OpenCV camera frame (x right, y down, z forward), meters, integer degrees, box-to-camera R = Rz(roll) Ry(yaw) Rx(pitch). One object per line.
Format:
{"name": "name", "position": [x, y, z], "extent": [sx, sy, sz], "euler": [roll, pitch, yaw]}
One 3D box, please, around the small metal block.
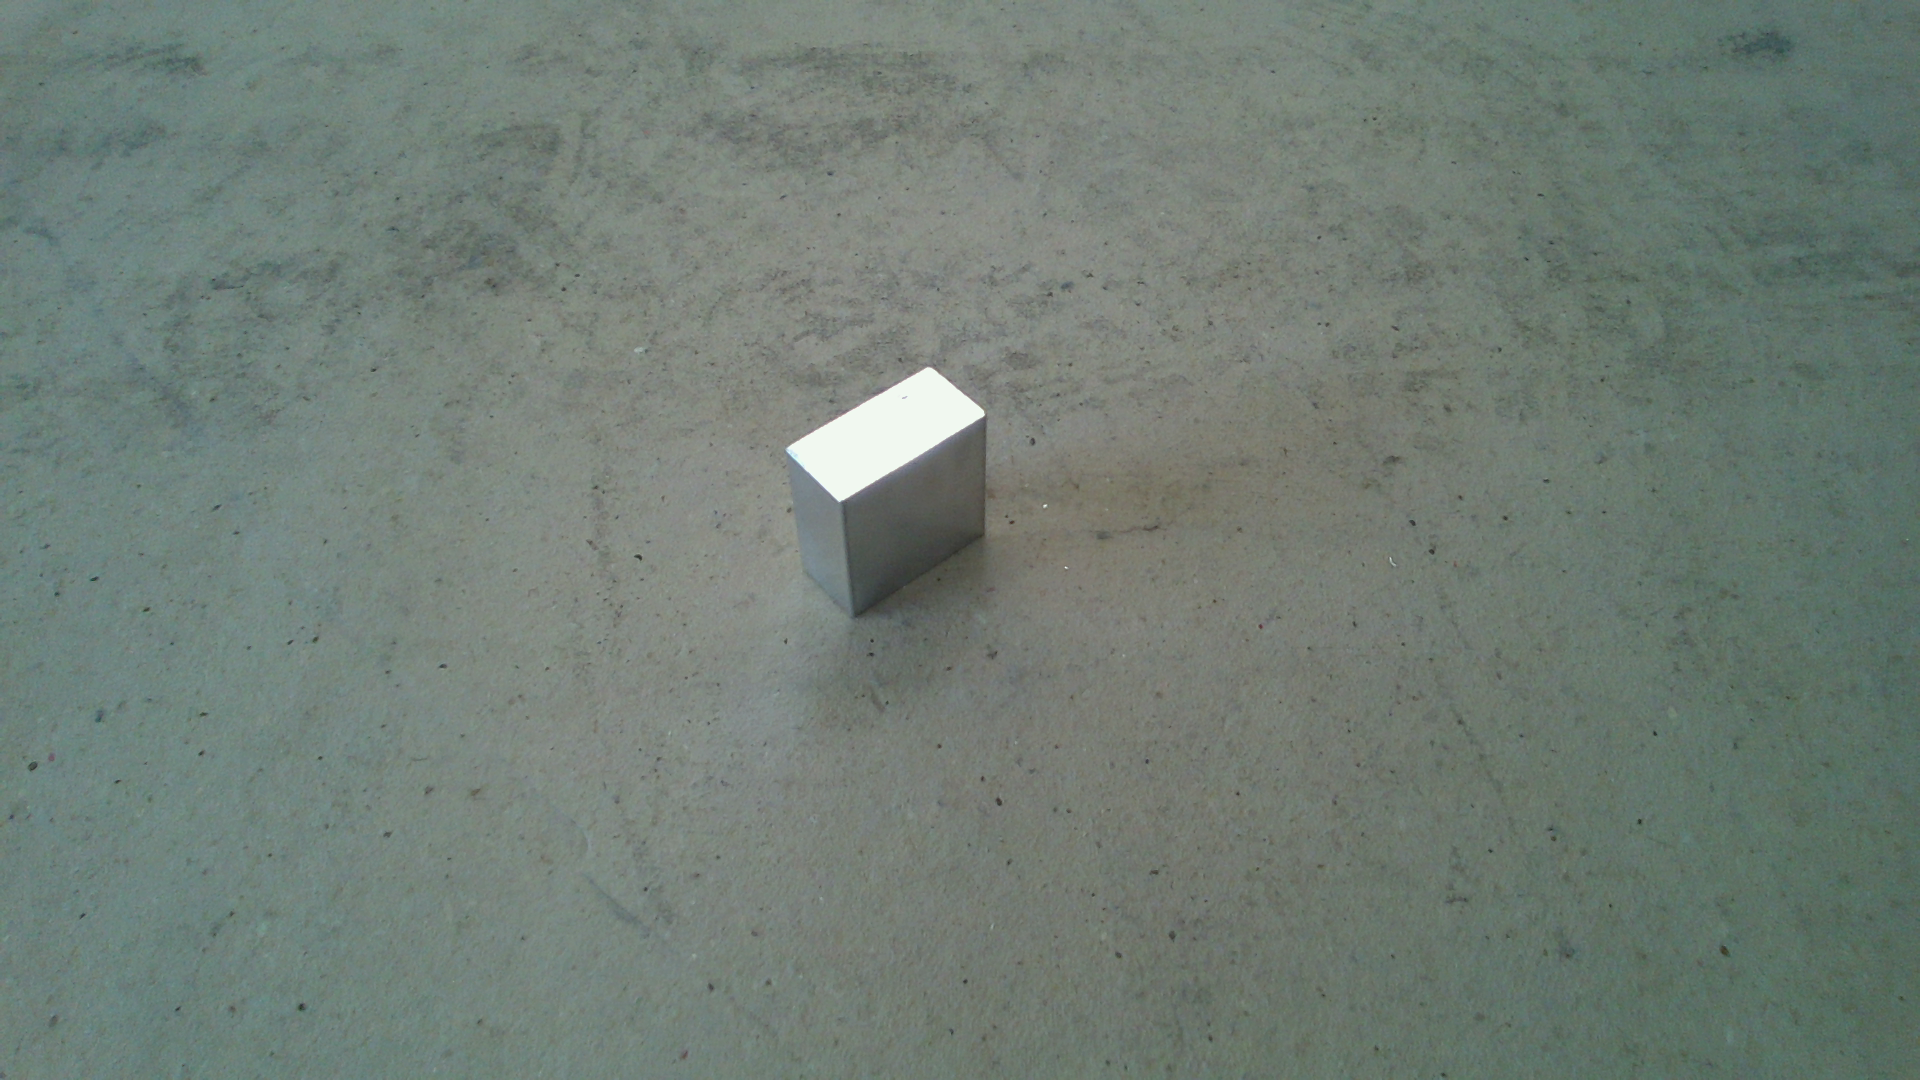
{"name": "small metal block", "position": [-0.020, -0.013, 0.387], "extent": [0.050, 0.050, 0.025], "euler": [-33, 57, -25]}
